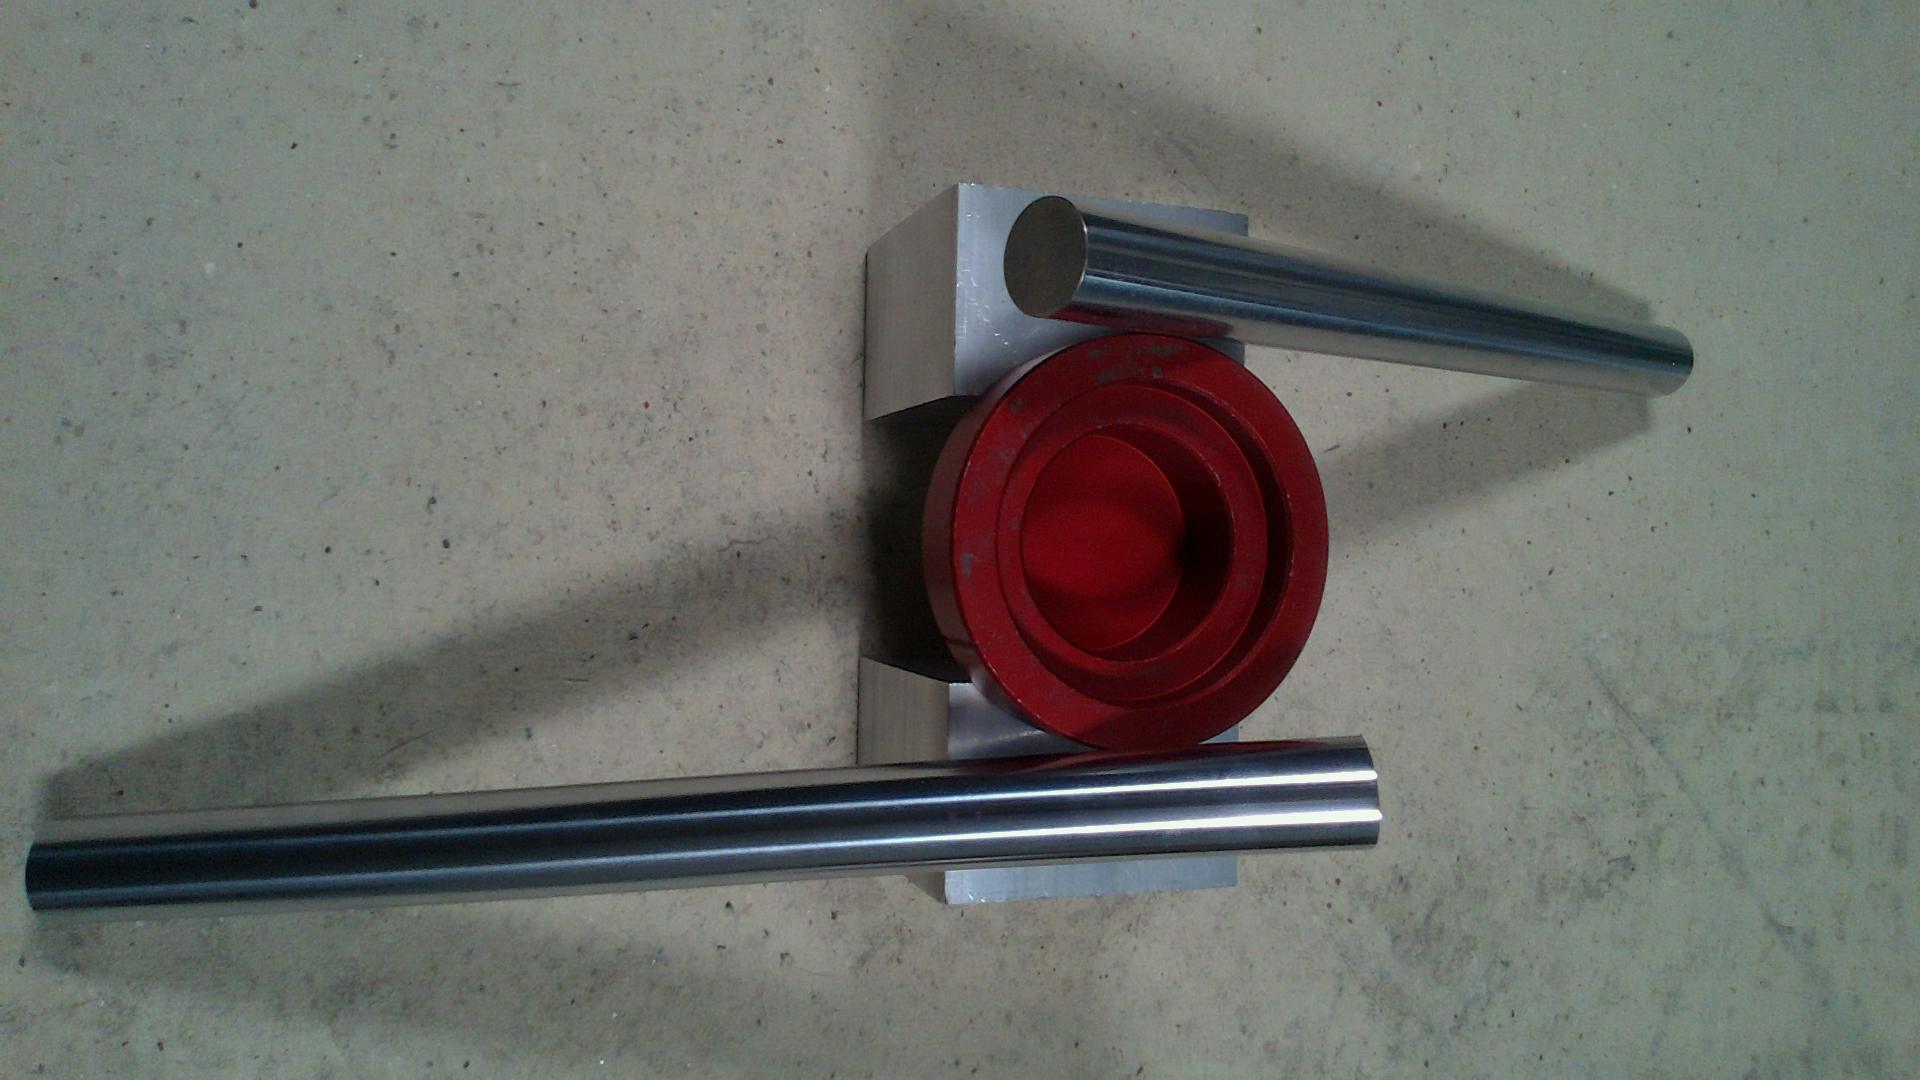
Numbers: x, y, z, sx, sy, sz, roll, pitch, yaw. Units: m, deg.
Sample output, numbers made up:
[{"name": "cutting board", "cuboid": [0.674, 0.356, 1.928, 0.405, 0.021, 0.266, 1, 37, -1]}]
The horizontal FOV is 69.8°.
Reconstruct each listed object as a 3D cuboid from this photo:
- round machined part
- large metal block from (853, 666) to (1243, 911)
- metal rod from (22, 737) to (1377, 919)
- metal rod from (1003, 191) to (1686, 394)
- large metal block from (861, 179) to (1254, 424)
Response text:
[{"name": "round machined part", "cuboid": [0.037, 0.001, 0.335, 0.098, 0.042, 0.098, 0, 90, -20]}, {"name": "large metal block", "cuboid": [0.020, 0.062, 0.372, 0.080, 0.080, 0.050, 1, 90, -20]}, {"name": "metal rod", "cuboid": [-0.060, 0.066, 0.313, 0.300, 0.025, 0.025, -4, 91, 3]}, {"name": "metal rod", "cuboid": [0.130, -0.061, 0.384, 0.301, 0.025, 0.025, -1, 90, -42]}, {"name": "large metal block", "cuboid": [0.023, -0.059, 0.373, 0.080, 0.080, 0.050, 1, 90, -20]}]
